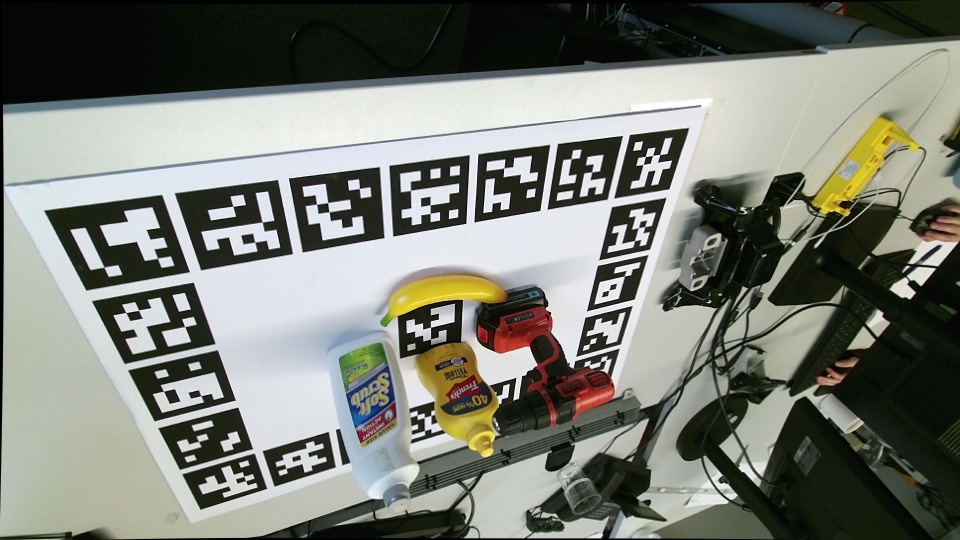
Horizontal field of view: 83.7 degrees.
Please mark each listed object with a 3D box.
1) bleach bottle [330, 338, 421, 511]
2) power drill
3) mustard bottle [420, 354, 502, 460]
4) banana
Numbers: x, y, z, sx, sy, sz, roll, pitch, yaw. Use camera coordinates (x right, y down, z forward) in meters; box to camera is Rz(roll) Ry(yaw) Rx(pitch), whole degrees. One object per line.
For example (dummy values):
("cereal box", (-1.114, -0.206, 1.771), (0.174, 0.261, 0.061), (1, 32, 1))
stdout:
("bleach bottle", (-0.130, 0.200, 0.714), (0.103, 0.250, 0.068), (-19, 129, -14))
("power drill", (0.084, 0.152, 0.790), (0.185, 0.186, 0.057), (-13, 135, -15))
("mustard bottle", (-0.020, 0.211, 0.806), (0.096, 0.191, 0.058), (-11, 128, -19))
("banana", (-0.047, 0.055, 0.777), (0.198, 0.039, 0.074), (-10, 123, -22))
